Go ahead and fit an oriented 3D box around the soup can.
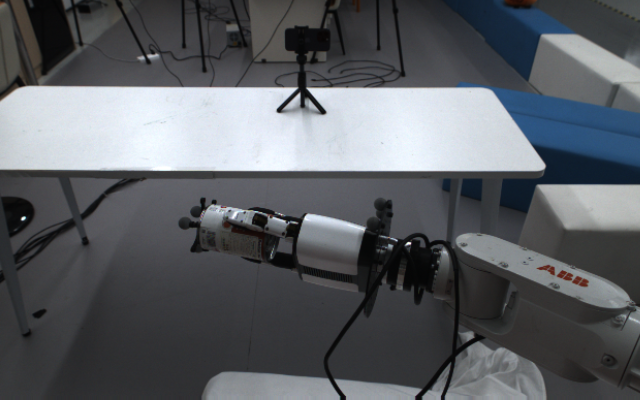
[{"bbox_3d":[-0.112,0.048,0.687,0.101,0.067,0.067,10,35,10],"label":"soup can"}]
